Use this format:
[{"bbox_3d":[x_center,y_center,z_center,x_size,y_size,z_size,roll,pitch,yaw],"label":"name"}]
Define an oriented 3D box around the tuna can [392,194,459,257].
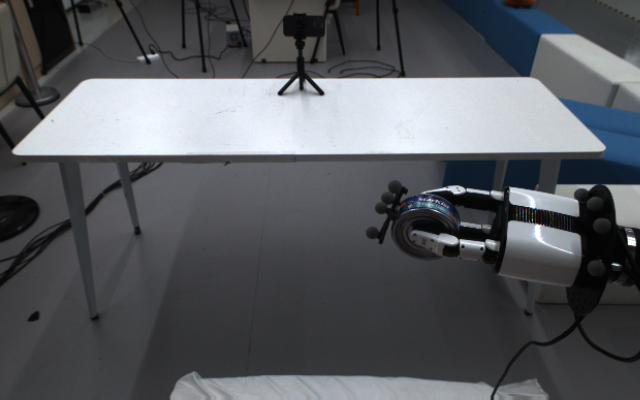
[{"bbox_3d":[0.138,0.034,0.625,0.085,0.085,0.034,9,35,9],"label":"tuna can"}]
